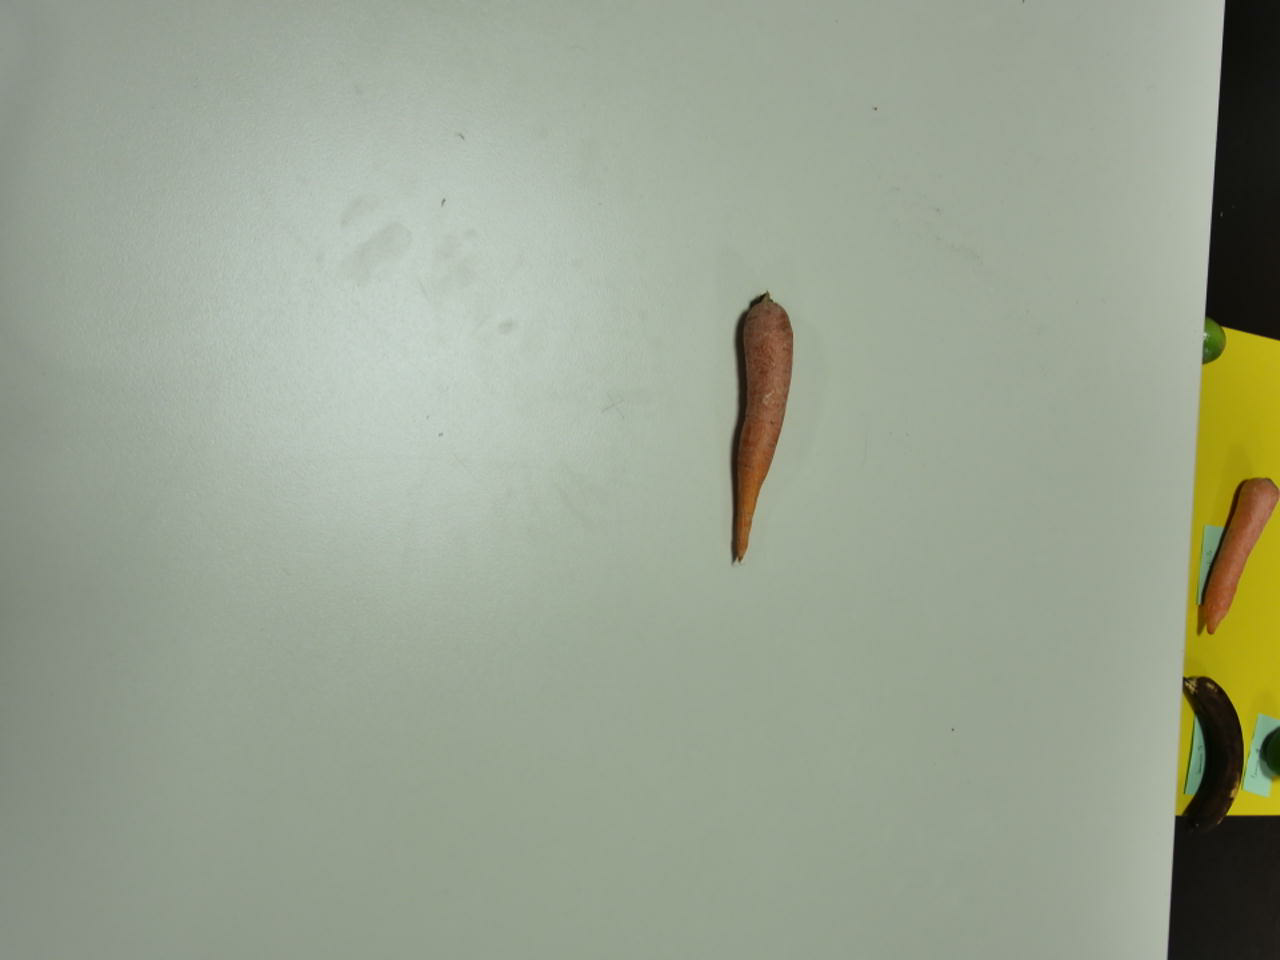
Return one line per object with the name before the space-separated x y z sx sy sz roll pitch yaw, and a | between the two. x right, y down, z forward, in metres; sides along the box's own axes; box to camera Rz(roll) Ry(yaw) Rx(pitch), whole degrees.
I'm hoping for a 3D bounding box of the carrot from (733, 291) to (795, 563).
carrot | 0.074 -0.032 0.604 0.031 0.029 0.163 5 89 -22
